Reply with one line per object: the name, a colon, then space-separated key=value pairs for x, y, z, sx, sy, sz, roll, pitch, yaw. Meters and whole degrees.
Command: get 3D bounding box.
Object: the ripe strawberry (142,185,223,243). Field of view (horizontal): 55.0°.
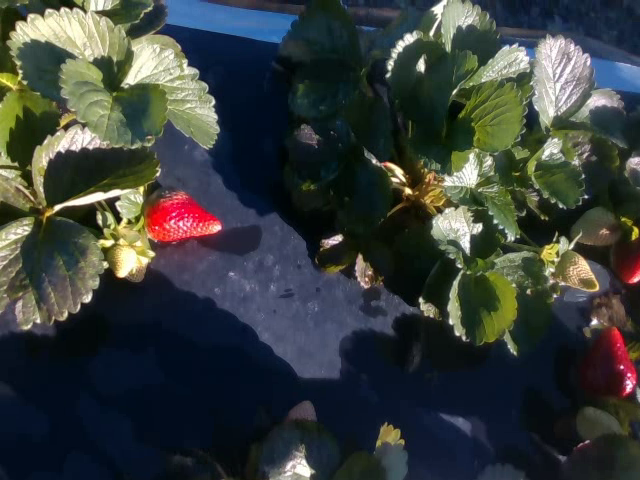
ripe strawberry: x=-0.102 y=-0.015 z=0.450 sx=0.064 sy=0.050 sz=0.052 roll=12 pitch=14 yaw=-6
